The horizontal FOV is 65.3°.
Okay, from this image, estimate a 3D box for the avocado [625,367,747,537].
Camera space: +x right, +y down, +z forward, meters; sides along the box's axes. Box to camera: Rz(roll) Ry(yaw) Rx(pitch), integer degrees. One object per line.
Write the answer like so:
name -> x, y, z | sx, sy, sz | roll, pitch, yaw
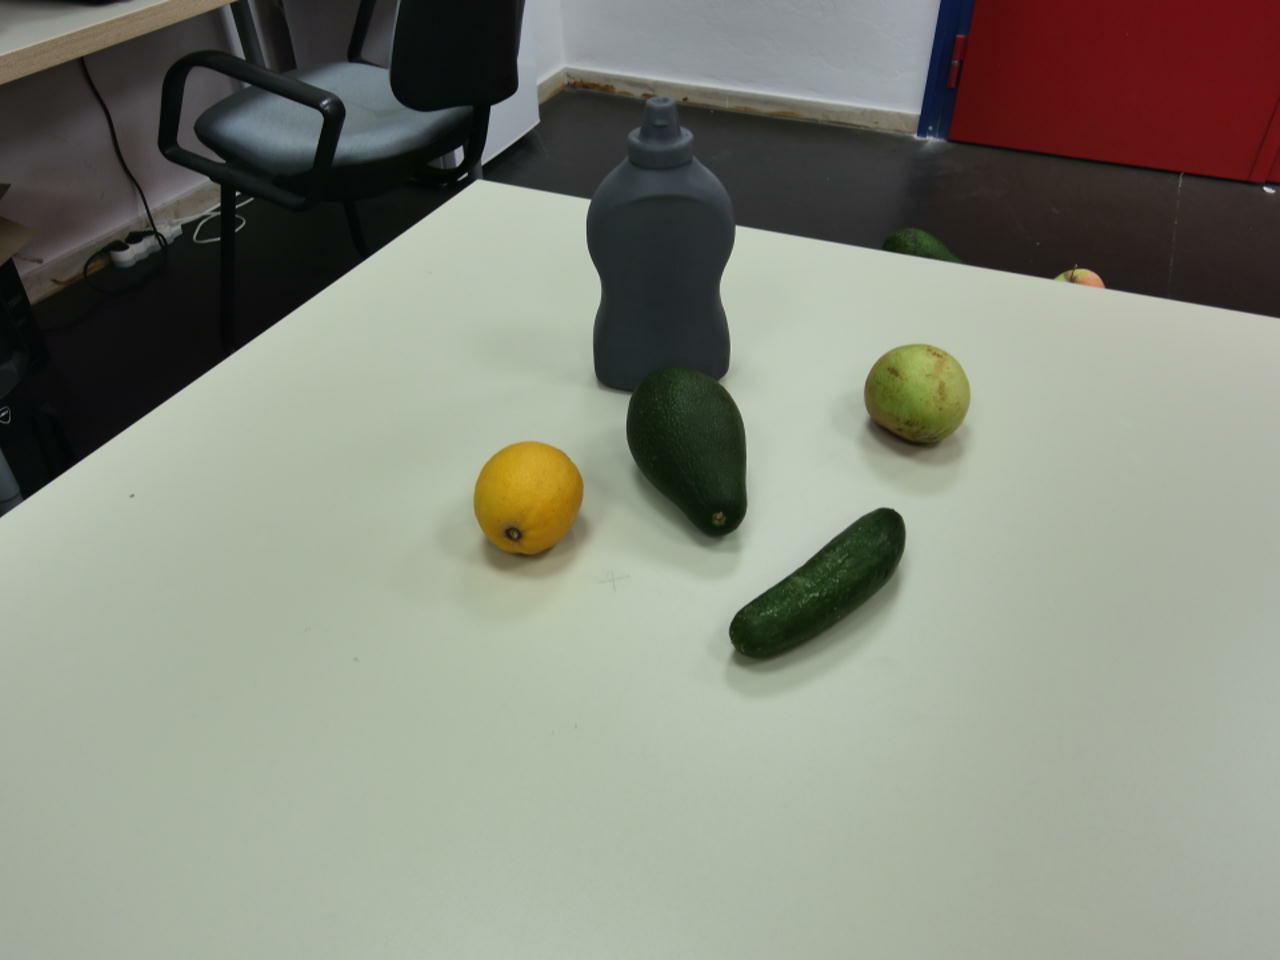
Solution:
avocado -> 0.026, -0.021, 0.590 | 0.072, 0.071, 0.109 | 0, 38, 2
